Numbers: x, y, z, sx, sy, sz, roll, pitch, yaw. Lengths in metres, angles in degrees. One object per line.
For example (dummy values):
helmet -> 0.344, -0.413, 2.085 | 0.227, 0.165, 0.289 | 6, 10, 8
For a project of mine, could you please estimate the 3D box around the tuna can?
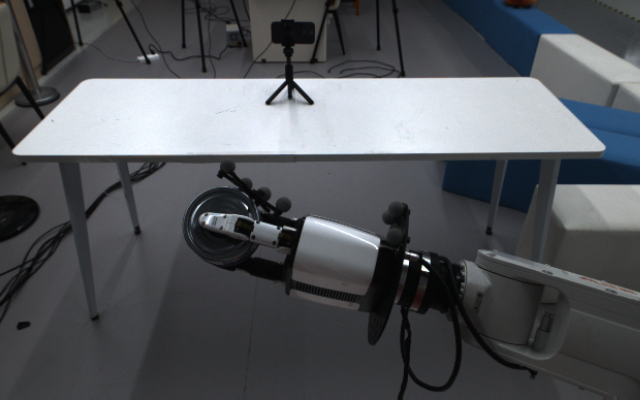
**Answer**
tuna can -> -0.104, 0.029, 0.538 | 0.085, 0.034, 0.085 | 0, 73, -1
